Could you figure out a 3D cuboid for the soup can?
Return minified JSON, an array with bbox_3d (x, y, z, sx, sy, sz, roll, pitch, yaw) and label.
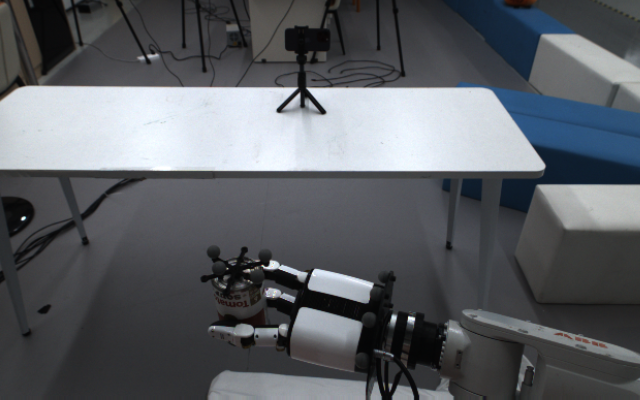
[{"bbox_3d":[-0.101,0.135,0.643,0.067,0.101,0.067,-2,34,1],"label":"soup can"}]
